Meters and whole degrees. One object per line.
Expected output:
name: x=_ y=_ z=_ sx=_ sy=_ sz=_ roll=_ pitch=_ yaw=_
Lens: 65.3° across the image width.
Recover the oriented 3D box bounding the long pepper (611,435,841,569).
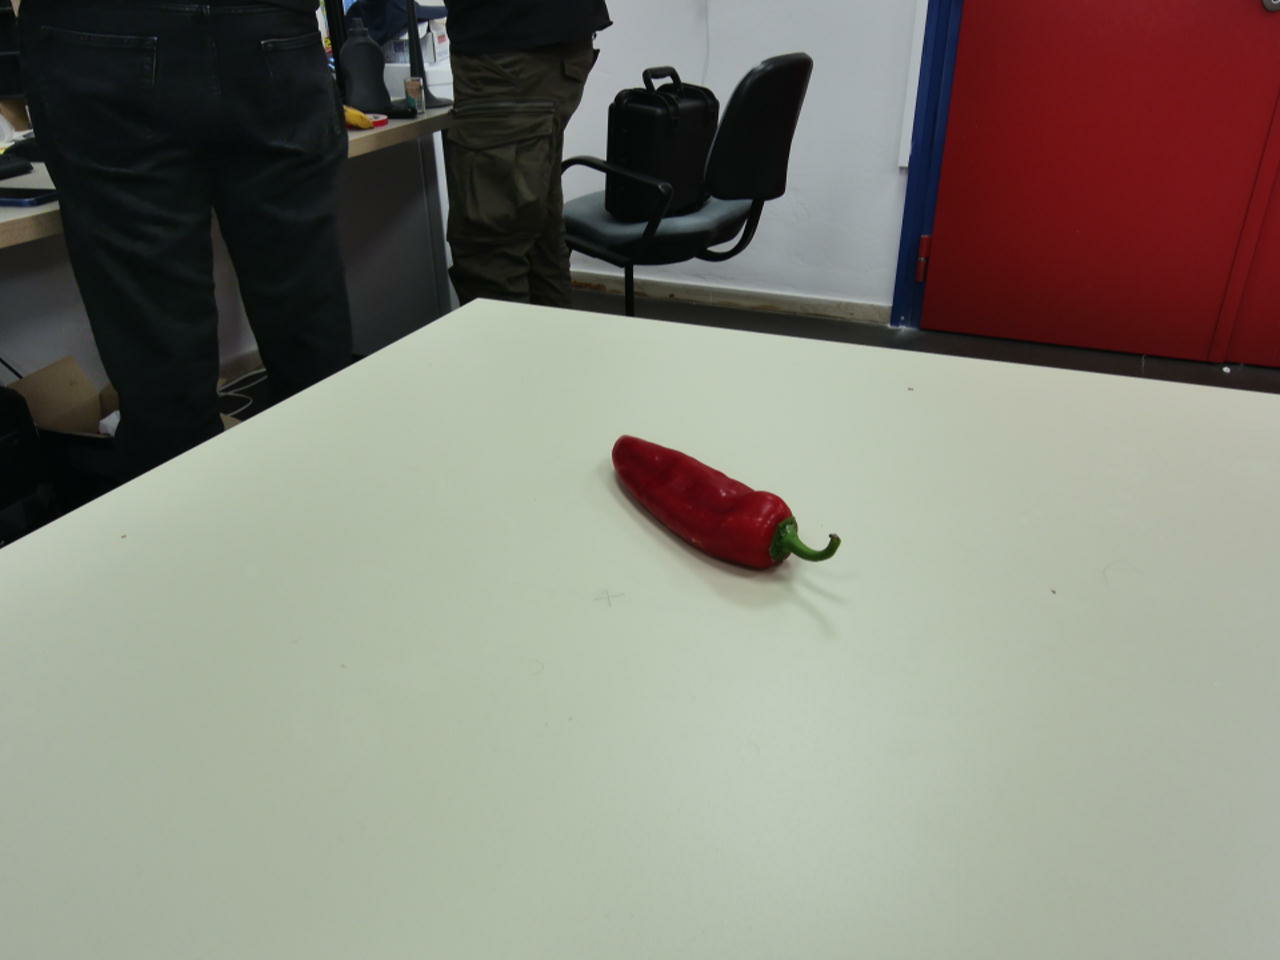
long pepper: x=0.039 y=0.011 z=0.610 sx=0.050 sy=0.043 sz=0.211 roll=-17 pitch=30 yaw=-30
